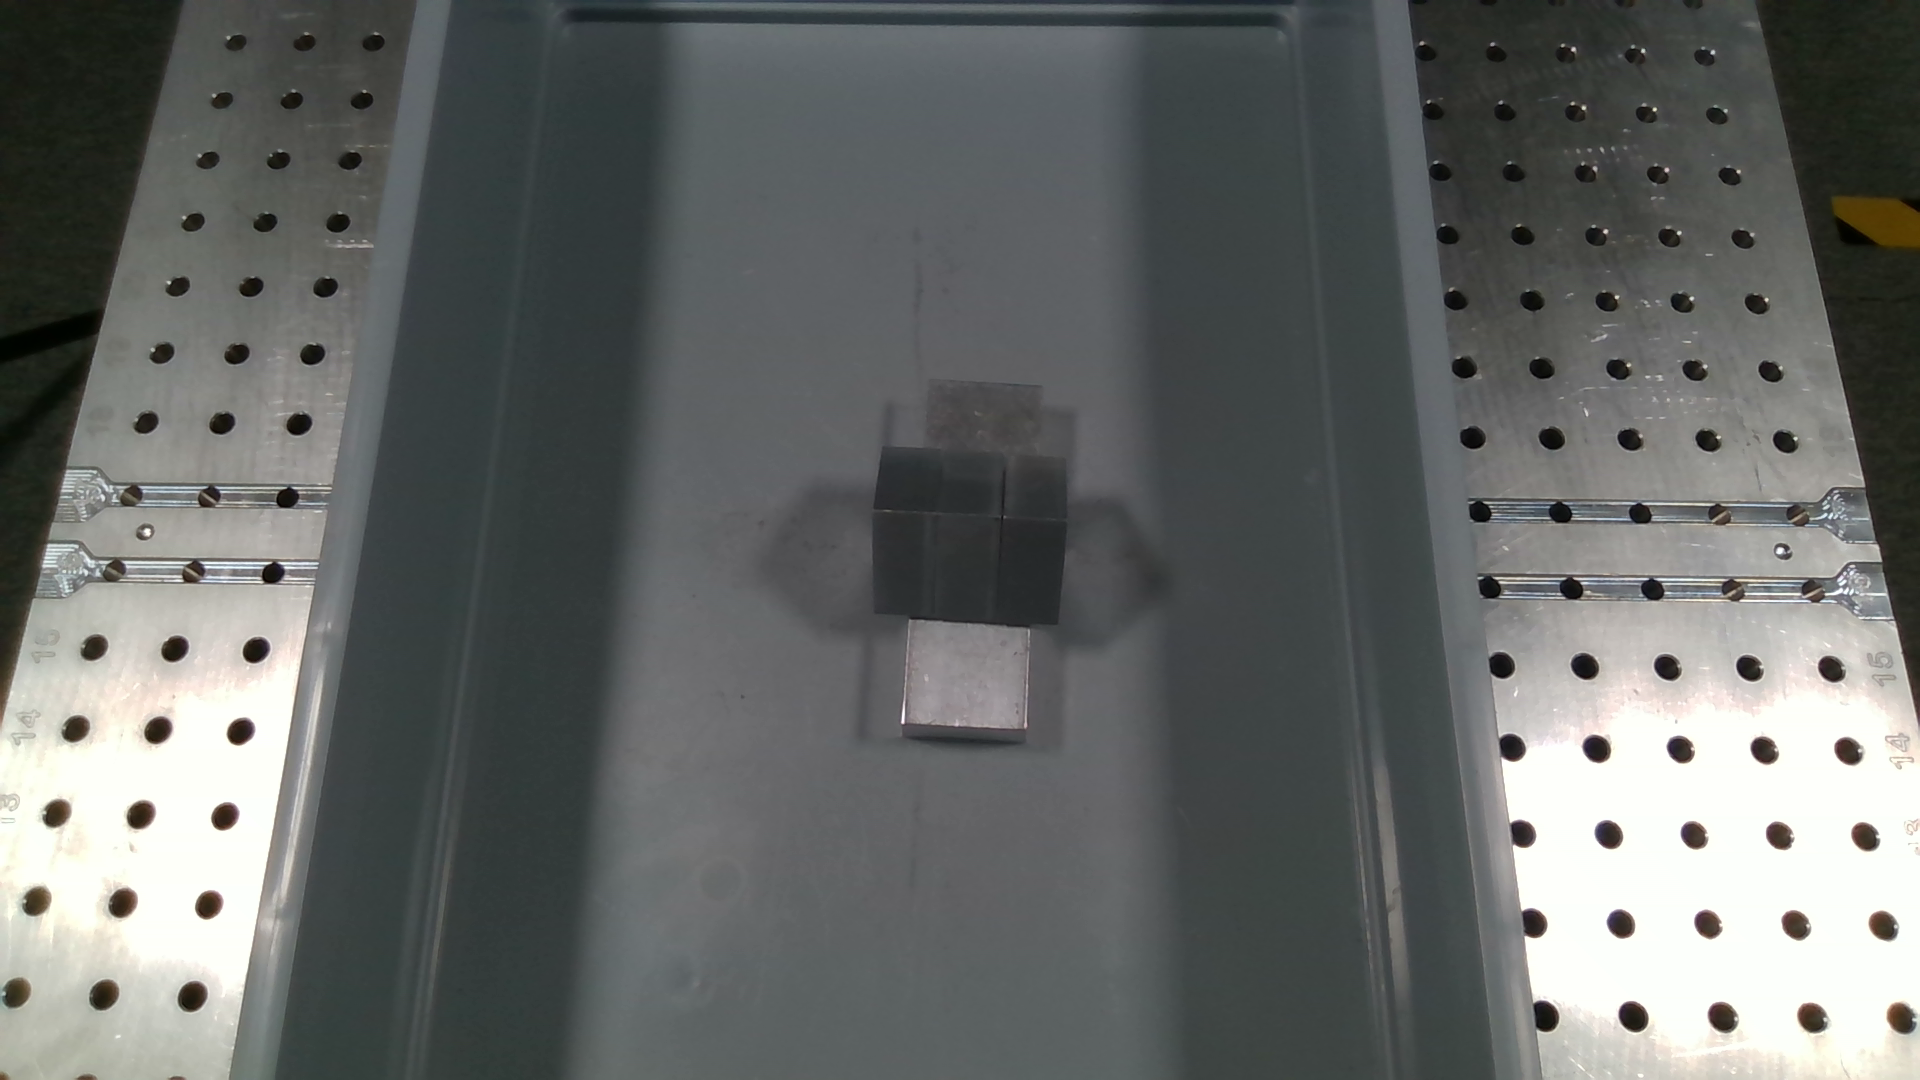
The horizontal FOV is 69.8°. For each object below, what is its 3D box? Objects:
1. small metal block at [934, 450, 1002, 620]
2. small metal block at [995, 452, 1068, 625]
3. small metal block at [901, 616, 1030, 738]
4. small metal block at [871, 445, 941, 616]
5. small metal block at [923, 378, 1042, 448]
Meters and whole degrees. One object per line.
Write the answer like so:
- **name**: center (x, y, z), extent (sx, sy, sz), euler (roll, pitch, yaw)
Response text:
- **small metal block**: center (0.003, -0.003, 0.564), extent (0.025, 0.050, 0.050), euler (3, 34, 0)
- **small metal block**: center (0.029, -0.001, 0.563), extent (0.025, 0.050, 0.050), euler (3, 34, 1)
- **small metal block**: center (0.003, 0.055, 0.568), extent (0.050, 0.025, 0.050), euler (3, 70, 1)
- **small metal block**: center (-0.022, -0.004, 0.564), extent (0.025, 0.050, 0.050), euler (3, 34, 0)
- **small metal block**: center (0.009, -0.041, 0.602), extent (0.050, 0.025, 0.050), euler (3, 70, 1)
